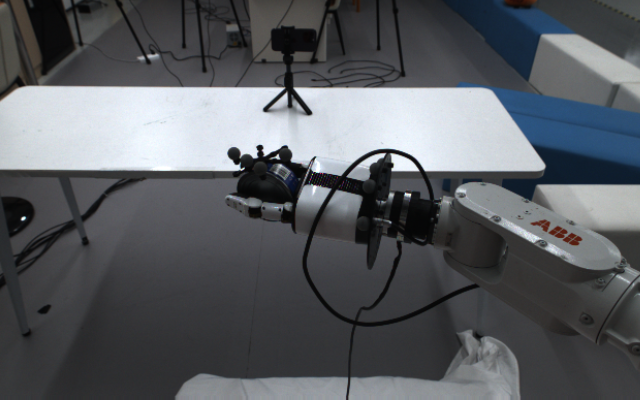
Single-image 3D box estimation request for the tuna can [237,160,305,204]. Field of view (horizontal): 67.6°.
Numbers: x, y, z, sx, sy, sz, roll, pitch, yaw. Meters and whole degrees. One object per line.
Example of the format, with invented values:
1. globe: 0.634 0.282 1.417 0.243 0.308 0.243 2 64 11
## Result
1. tuna can: -0.069 -0.014 0.677 0.085 0.085 0.034 14 40 16
